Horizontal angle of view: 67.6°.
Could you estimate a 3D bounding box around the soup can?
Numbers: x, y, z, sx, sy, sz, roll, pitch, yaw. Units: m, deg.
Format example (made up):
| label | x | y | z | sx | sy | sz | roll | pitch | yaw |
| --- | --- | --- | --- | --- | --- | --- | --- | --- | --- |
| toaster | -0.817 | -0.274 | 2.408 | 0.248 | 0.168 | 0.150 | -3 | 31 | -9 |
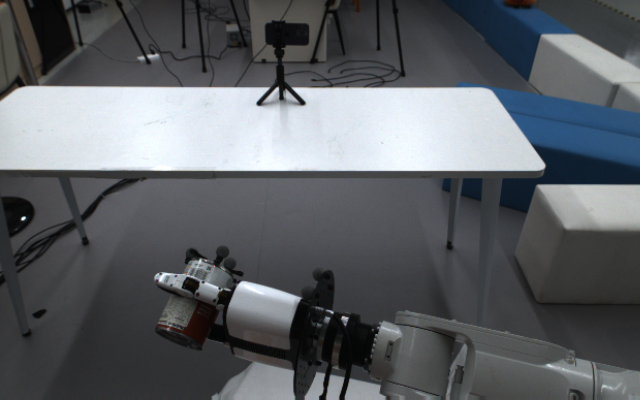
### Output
| label | x | y | z | sx | sy | sz | roll | pitch | yaw |
| --- | --- | --- | --- | --- | --- | --- | --- | --- | --- |
| soup can | -0.163 | 0.136 | 0.637 | 0.067 | 0.067 | 0.101 | 12 | 59 | 14 |
